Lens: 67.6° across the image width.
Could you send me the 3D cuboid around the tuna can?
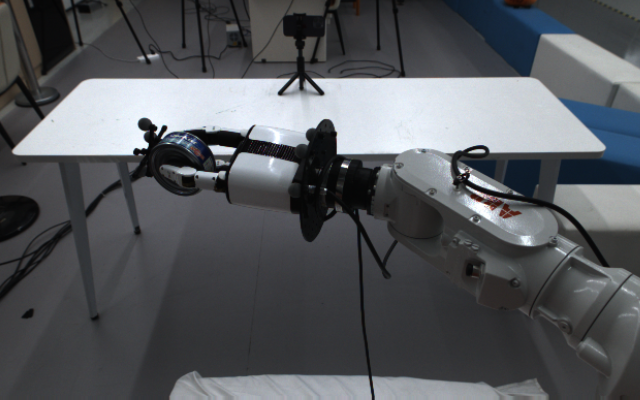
[{"bbox_3d":[-0.188,-0.050,0.663,0.085,0.085,0.034,9,36,9],"label":"tuna can"}]
